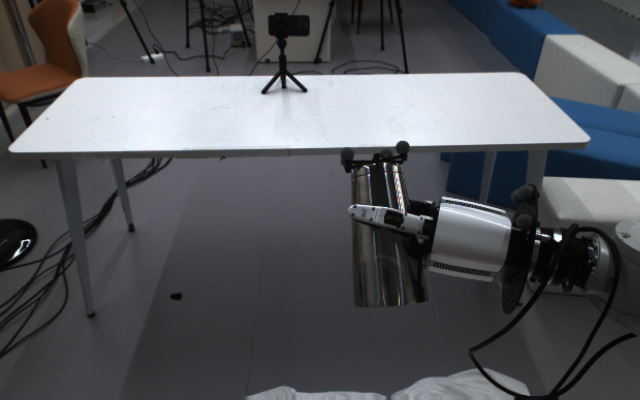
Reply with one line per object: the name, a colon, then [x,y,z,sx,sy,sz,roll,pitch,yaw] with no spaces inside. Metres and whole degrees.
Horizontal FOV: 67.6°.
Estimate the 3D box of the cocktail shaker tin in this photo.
cocktail shaker tin: [0.081,0.043,0.611,0.093,0.170,0.093,-6,-7,-1]
